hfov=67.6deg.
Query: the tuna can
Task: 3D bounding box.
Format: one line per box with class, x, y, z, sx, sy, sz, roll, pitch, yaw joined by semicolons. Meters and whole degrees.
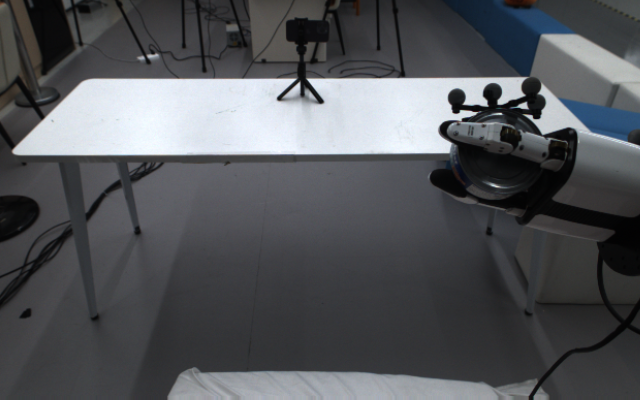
tuna can;0.176;-0.048;0.478;0.085;0.034;0.085;0;75;1
